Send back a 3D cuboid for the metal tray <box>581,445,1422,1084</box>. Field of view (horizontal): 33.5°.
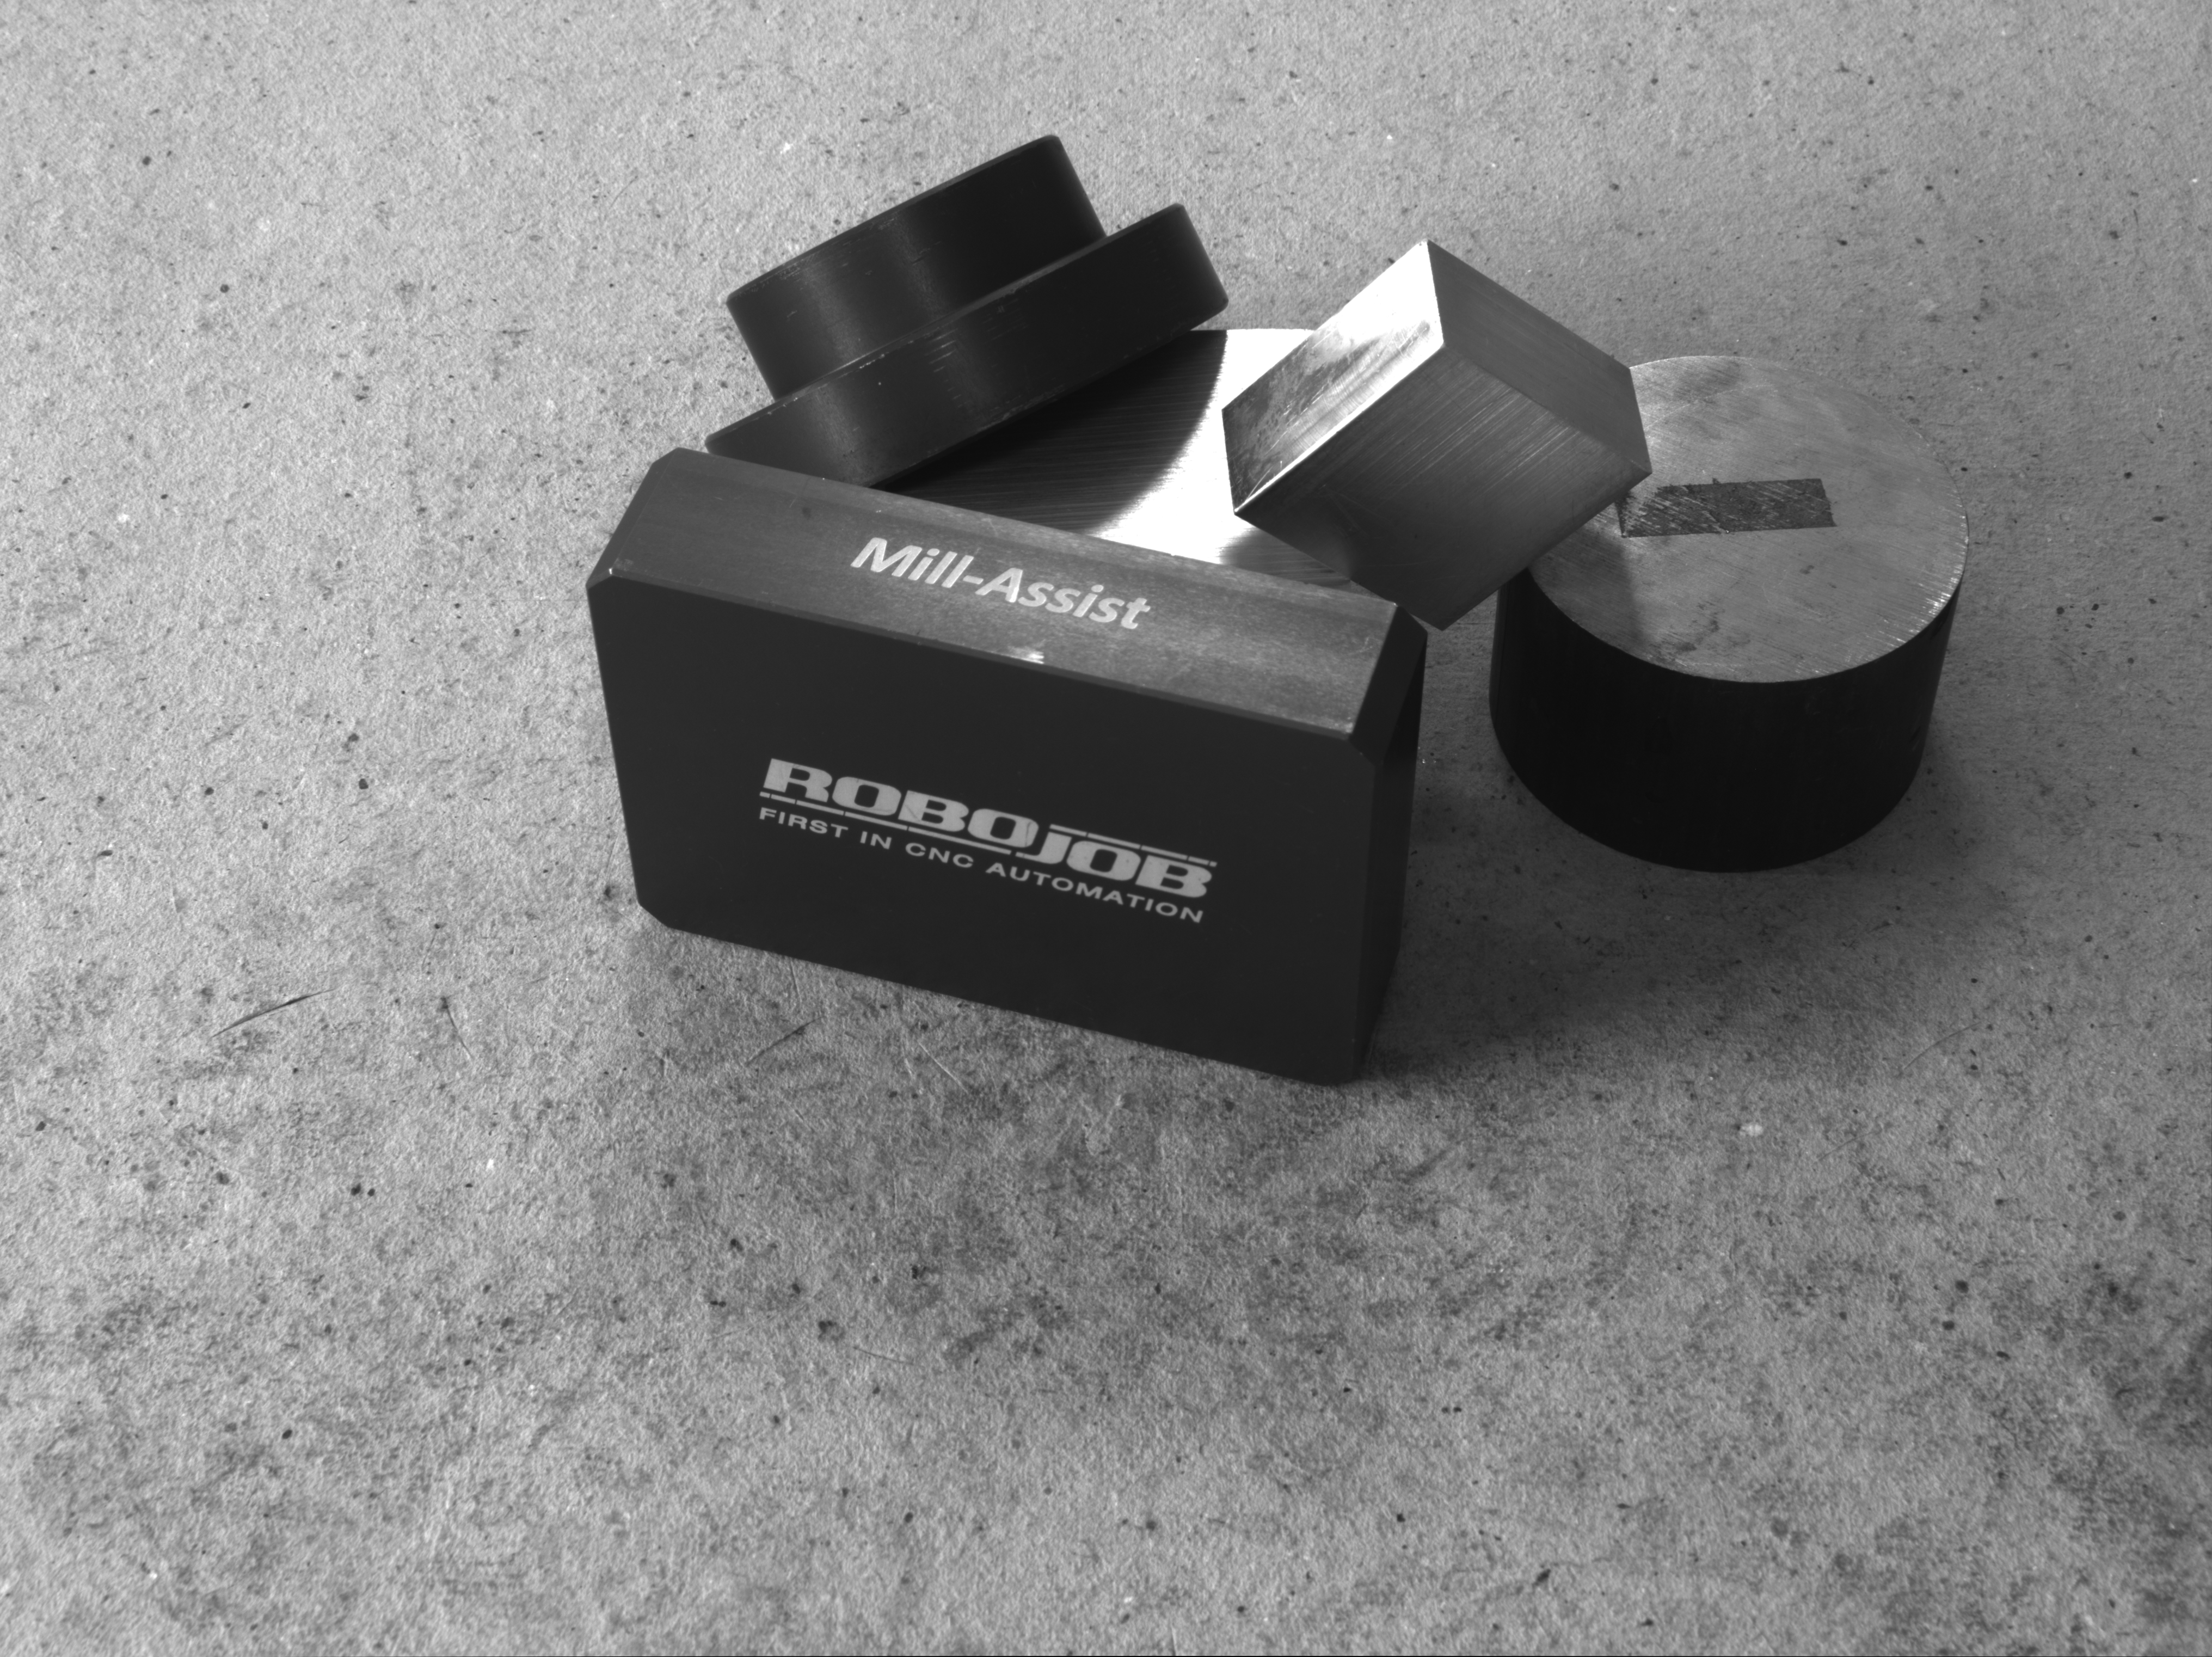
[{"bbox_3d":[-0.017,-0.009,0.608,0.130,0.090,0.030,13,51,11],"label":"metal tray"}]

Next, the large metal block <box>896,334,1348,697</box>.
[{"bbox_3d":[0.001,-0.043,0.665,0.080,0.050,0.080,-1,50,-1],"label":"large metal block"}]

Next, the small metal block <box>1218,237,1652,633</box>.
[{"bbox_3d":[0.055,-0.066,0.622,0.050,0.050,0.025,26,43,-34],"label":"small metal block"}]

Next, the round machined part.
[{"bbox_3d":[-0.031,-0.094,0.673,0.098,0.098,0.042,-30,100,-22],"label":"round machined part"}]

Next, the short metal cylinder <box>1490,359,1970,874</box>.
[{"bbox_3d":[0.110,-0.039,0.660,0.080,0.050,0.080,0,50,0],"label":"short metal cylinder"}]
